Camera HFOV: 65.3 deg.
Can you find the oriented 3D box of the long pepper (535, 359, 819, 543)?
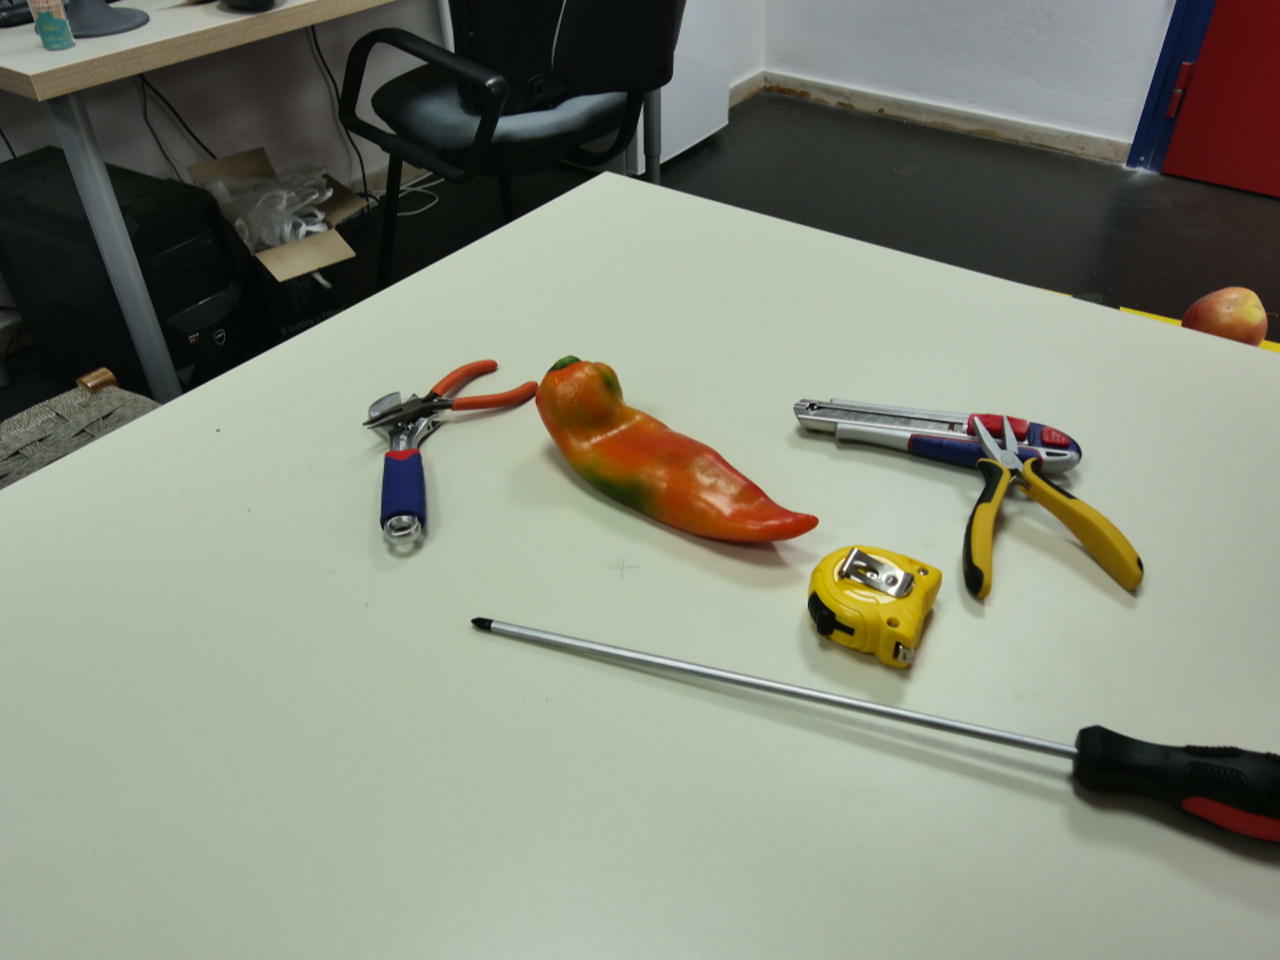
[{"bbox_3d":[0.016,-0.017,0.592,0.199,0.065,0.066,28,46,33],"label":"long pepper"}]
